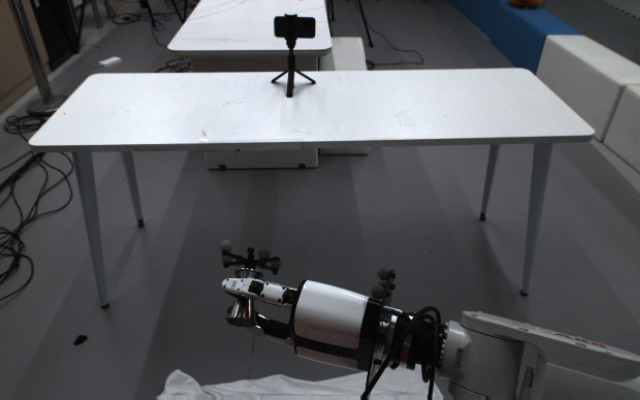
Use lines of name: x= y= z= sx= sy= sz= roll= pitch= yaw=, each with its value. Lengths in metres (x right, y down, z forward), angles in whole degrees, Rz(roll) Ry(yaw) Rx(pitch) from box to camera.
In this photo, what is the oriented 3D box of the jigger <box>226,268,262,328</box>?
jigger: x=-0.101 y=0.128 z=0.643 sx=0.043 sy=0.043 sz=0.071 roll=4 pitch=60 yaw=3
